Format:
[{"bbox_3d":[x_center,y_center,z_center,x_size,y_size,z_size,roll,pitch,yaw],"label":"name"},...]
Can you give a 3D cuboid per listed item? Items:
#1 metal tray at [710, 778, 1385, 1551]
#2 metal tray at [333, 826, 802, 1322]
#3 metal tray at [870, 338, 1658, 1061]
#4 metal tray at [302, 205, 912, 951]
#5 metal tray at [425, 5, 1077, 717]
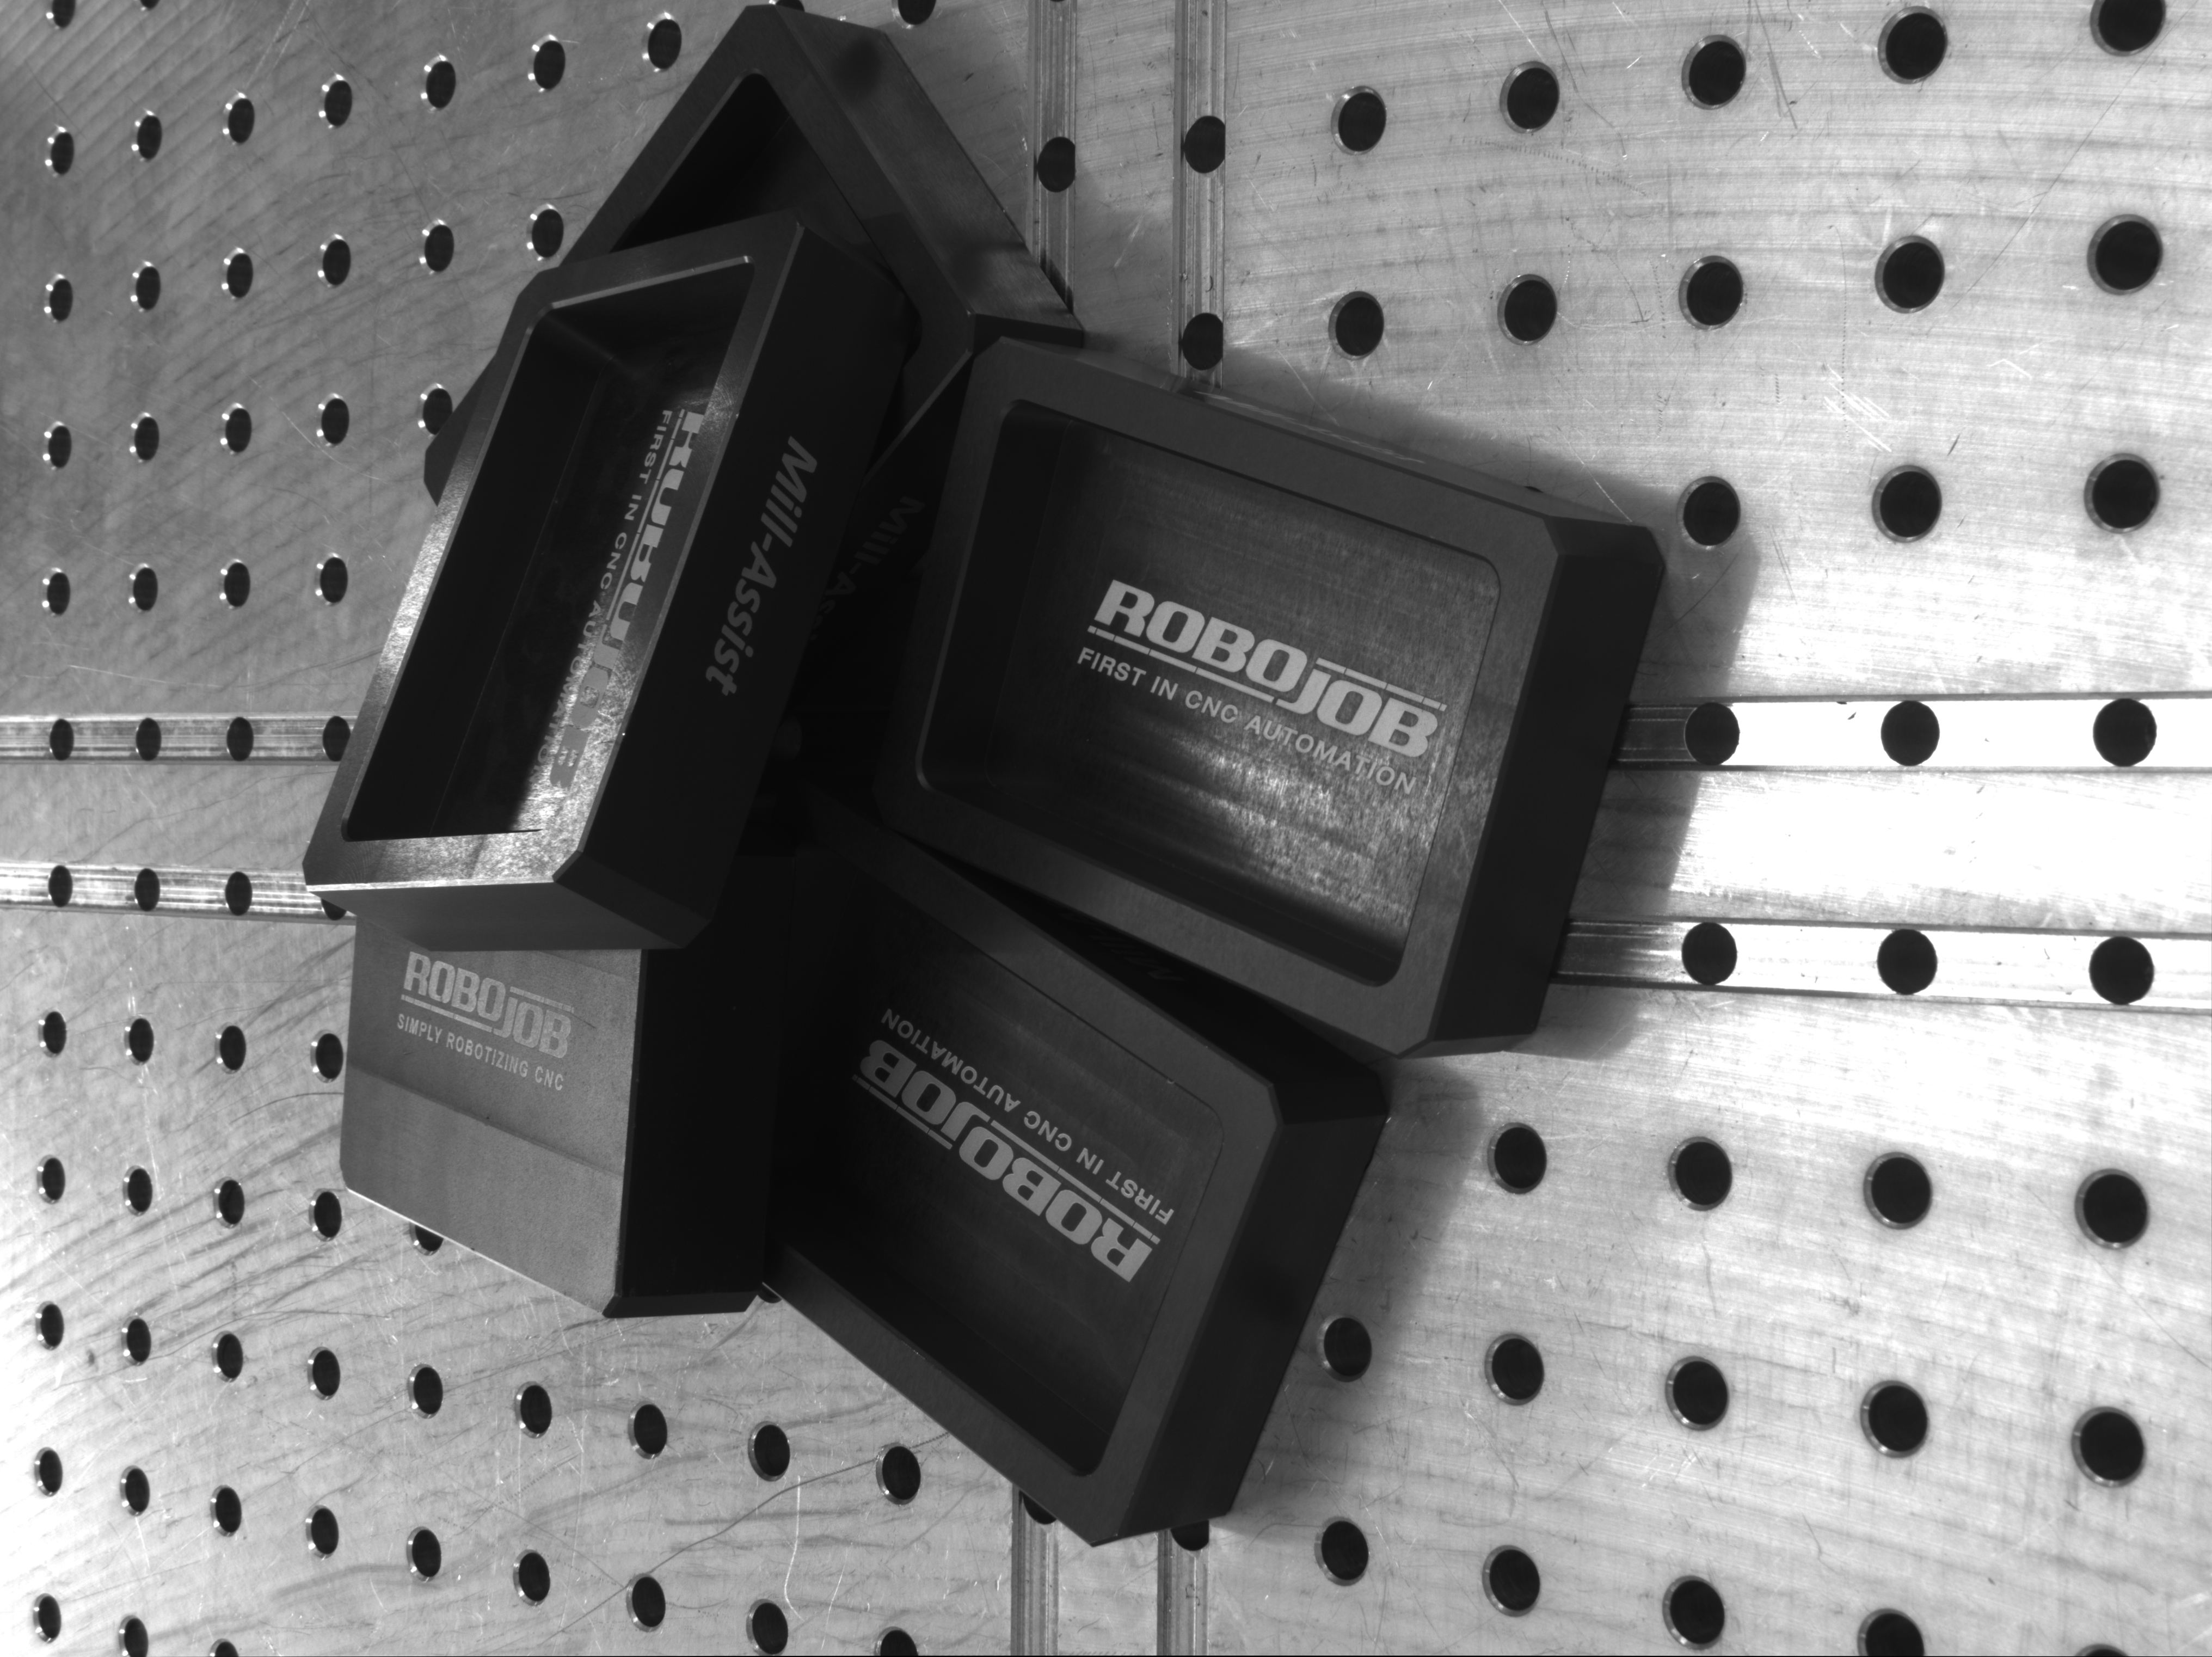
[{"bbox_3d":[-0.019,0.057,0.661,0.130,0.030,0.090,32,110,36],"label":"metal tray"},{"bbox_3d":[-0.108,0.037,0.714,0.130,0.030,0.090,12,98,54],"label":"metal tray"},{"bbox_3d":[0.023,-0.024,0.625,0.130,0.030,0.090,23,105,38],"label":"metal tray"},{"bbox_3d":[-0.090,-0.043,0.666,0.090,0.030,0.130,-3,64,48],"label":"metal tray"},{"bbox_3d":[-0.072,-0.080,0.705,0.130,0.030,0.090,-47,61,30],"label":"metal tray"}]
